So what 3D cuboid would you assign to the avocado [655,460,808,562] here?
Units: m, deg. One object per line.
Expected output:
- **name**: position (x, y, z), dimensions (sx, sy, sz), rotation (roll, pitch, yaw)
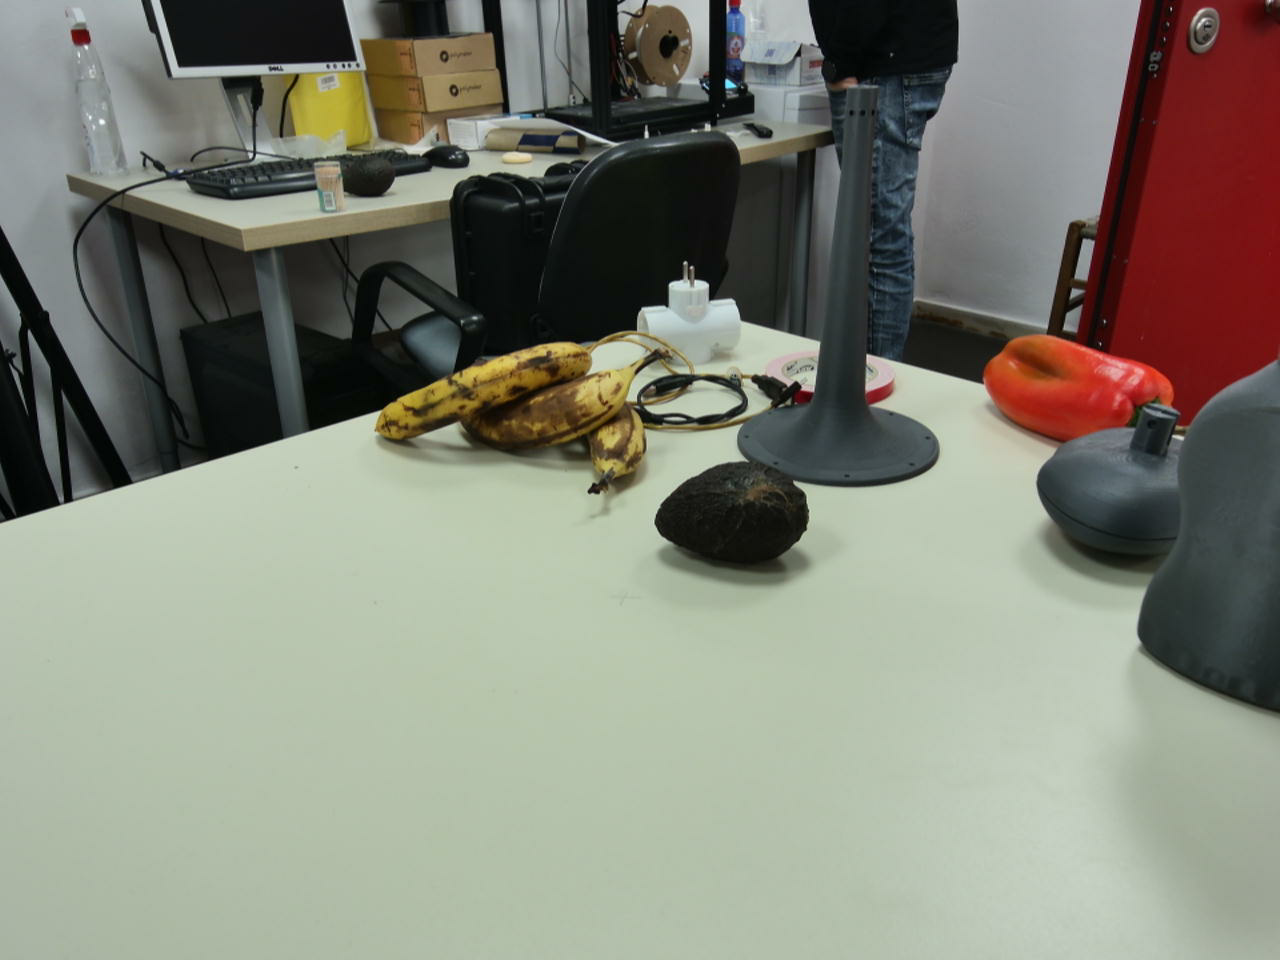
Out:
- **avocado**: position (0.057, 0.018, 0.611), dimensions (0.092, 0.062, 0.062), rotation (11, 26, 21)
